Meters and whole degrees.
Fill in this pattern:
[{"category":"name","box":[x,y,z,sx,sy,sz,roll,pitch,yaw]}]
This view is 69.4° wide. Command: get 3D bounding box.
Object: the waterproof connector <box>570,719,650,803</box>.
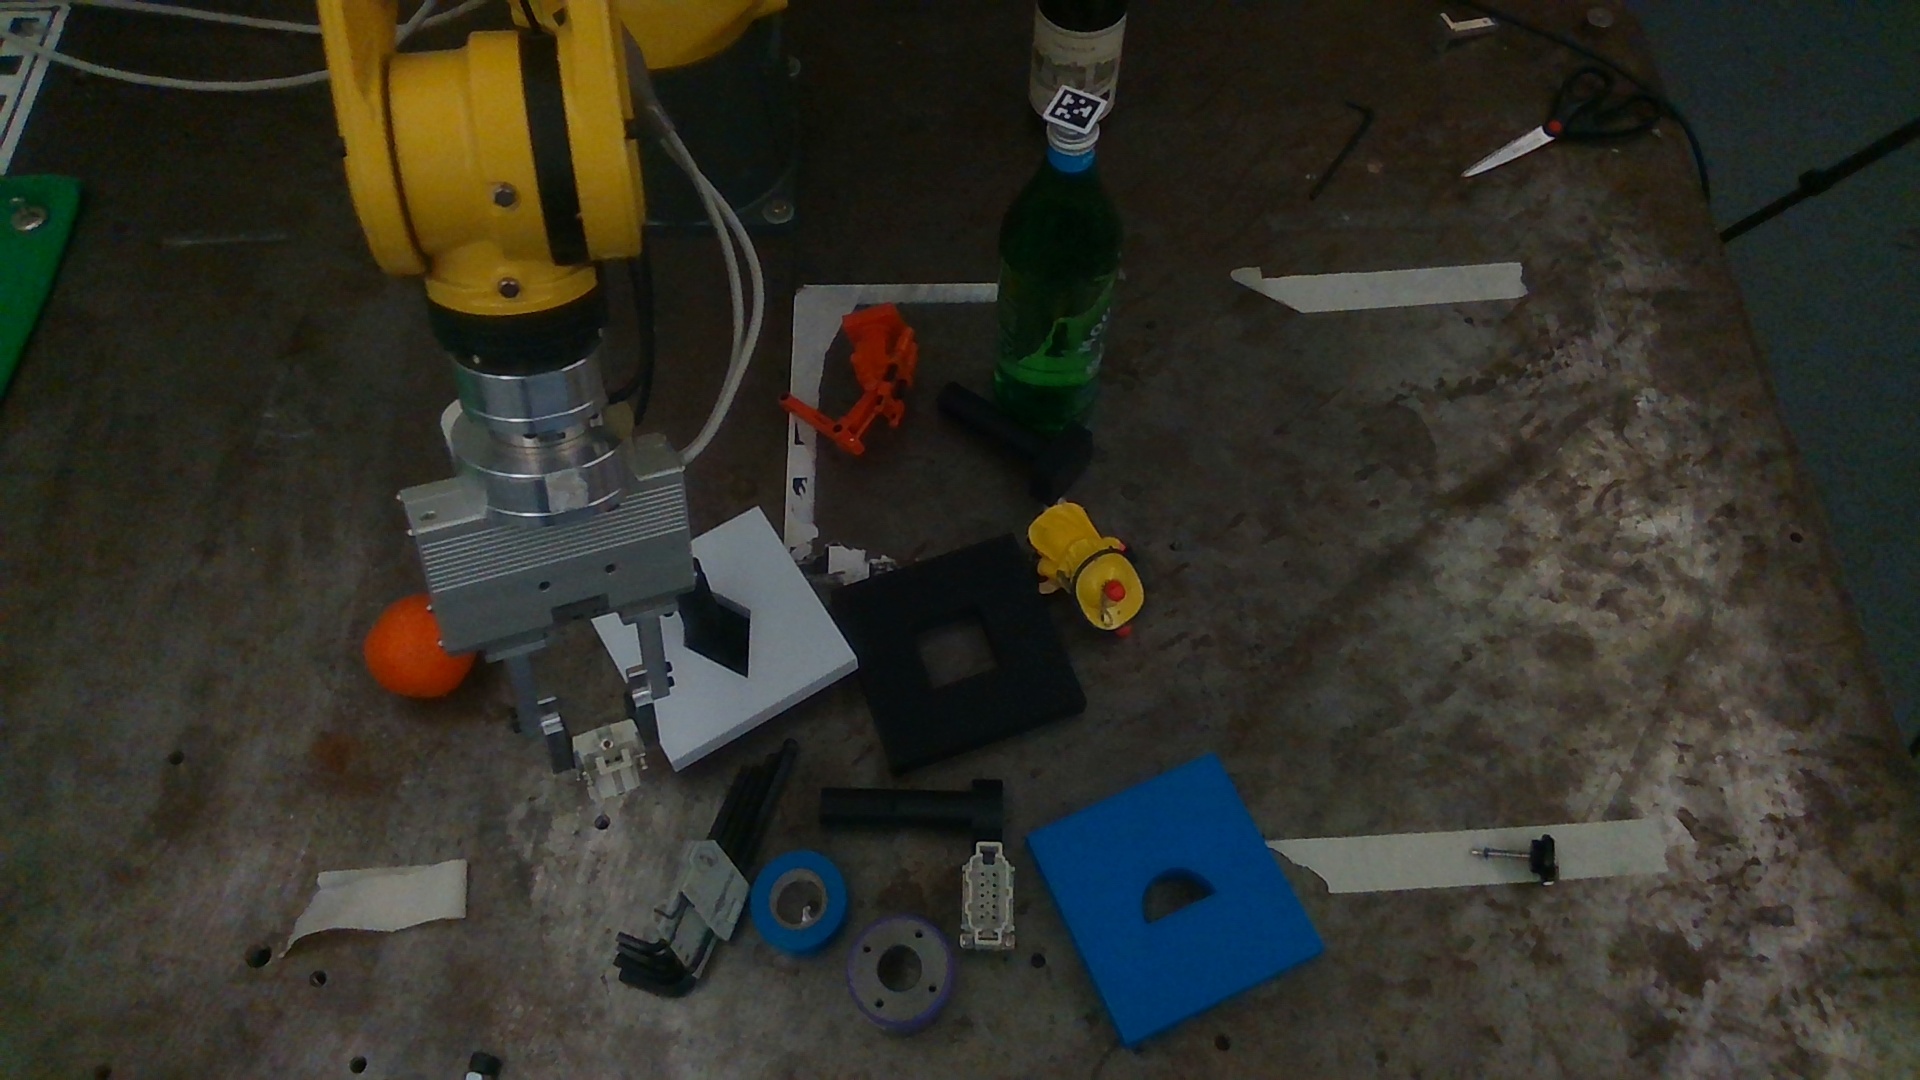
[{"category":"waterproof connector","box":[-0.194,0.123,0.773,0.036,0.069,0.038,-18,89,-20]}]
